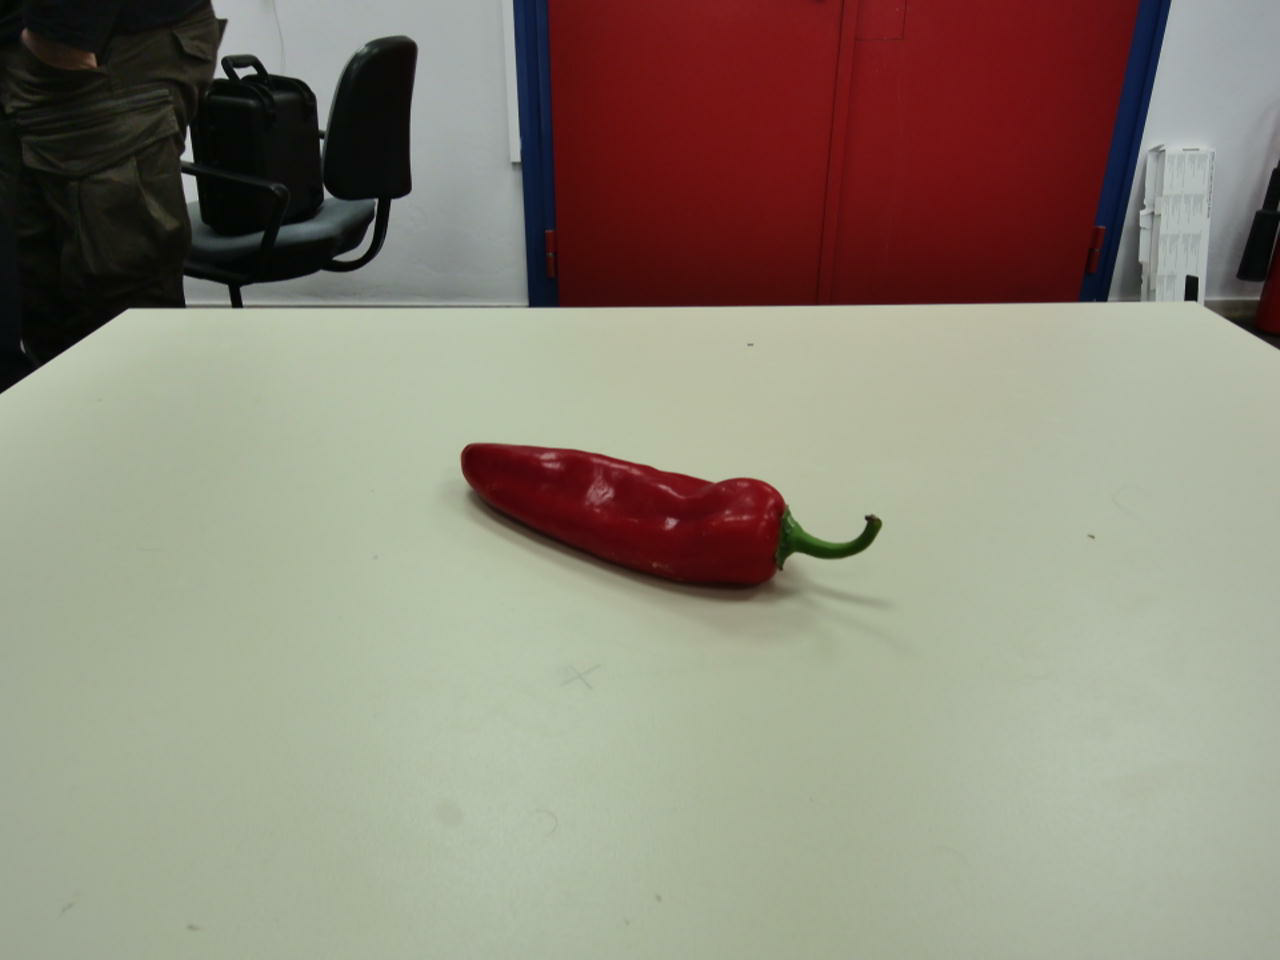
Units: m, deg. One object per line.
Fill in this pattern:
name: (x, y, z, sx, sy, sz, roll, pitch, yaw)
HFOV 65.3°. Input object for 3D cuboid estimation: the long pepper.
long pepper: (-0.002, 0.011, 0.436, 0.211, 0.043, 0.050, 14, 28, 29)
